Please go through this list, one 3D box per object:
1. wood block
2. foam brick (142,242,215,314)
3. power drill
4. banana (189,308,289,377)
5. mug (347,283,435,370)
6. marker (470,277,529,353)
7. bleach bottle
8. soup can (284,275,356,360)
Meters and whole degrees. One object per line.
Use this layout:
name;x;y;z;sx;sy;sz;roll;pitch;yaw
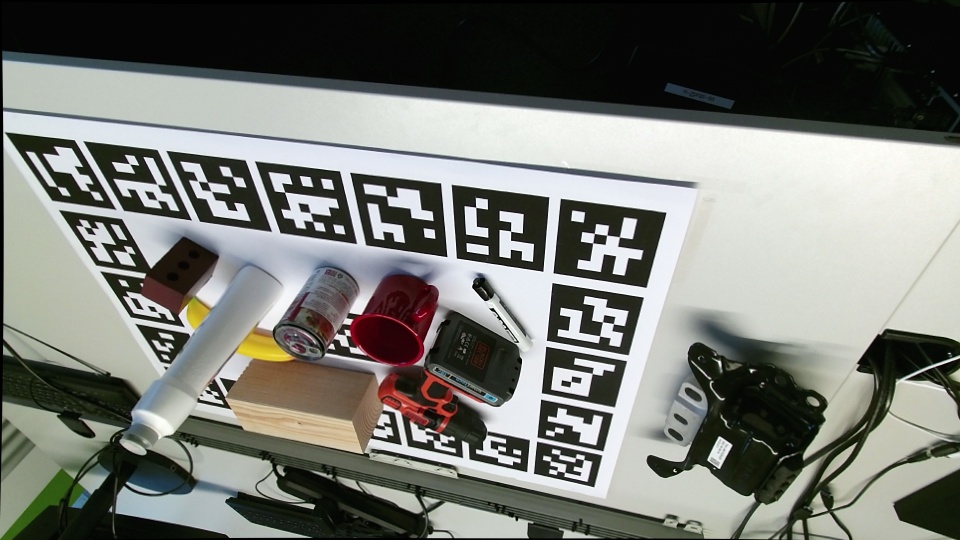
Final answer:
wood block;-0.273;0.213;0.836;0.207;0.090;0.090;7;130;12
foam brick;-0.400;0.012;0.709;0.053;0.078;0.051;32;134;-13
power drill;-0.042;0.169;0.752;0.185;0.057;0.187;31;133;-6
banana;-0.350;0.122;0.809;0.198;0.039;0.074;21;119;2
mug;-0.097;0.064;0.652;0.093;0.081;0.117;42;126;-16
marker;0.024;0.055;0.653;0.020;0.019;0.121;-19;121;28
bleach bottle;-0.343;0.113;0.660;0.068;0.250;0.103;29;133;-9
soup can;-0.206;0.063;0.665;0.068;0.101;0.068;11;136;10
